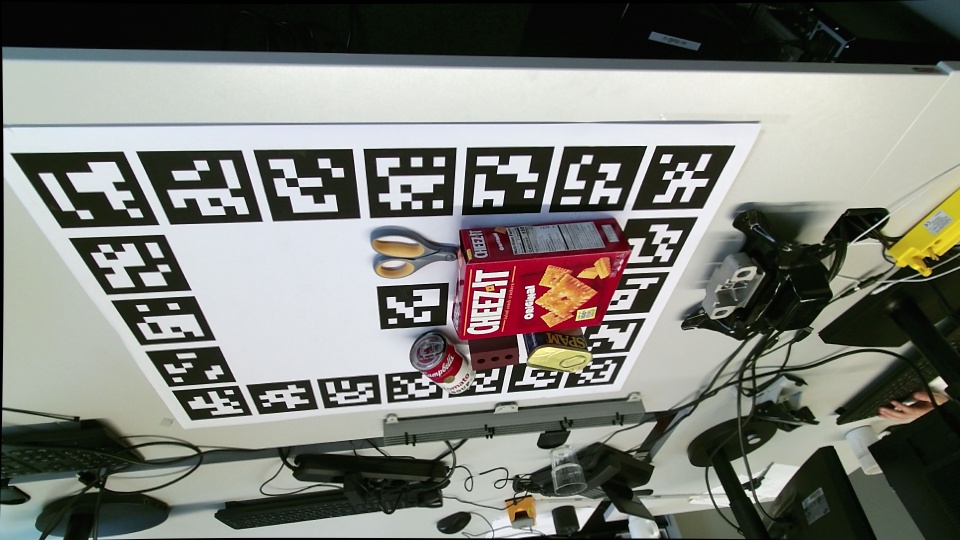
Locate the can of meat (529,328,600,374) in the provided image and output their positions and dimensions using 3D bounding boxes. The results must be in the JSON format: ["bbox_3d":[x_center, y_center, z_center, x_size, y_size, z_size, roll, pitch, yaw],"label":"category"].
[{"bbox_3d":[0.127,0.110,0.837,0.102,0.083,0.058,8,131,-19],"label":"can of meat"}]

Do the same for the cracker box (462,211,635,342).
[{"bbox_3d":[0.088,0.016,0.726,0.214,0.071,0.164,-9,136,-9],"label":"cracker box"}]

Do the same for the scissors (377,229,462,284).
[{"bbox_3d":[-0.029,-0.024,0.705,0.203,0.016,0.088,-6,135,-6],"label":"scissors"}]

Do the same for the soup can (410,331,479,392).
[{"bbox_3d":[-0.056,0.149,0.862,0.068,0.067,0.102,-30,138,17],"label":"soup can"}]

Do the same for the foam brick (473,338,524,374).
[{"bbox_3d":[0.028,0.125,0.857,0.078,0.051,0.053,-10,135,-2],"label":"foam brick"}]
